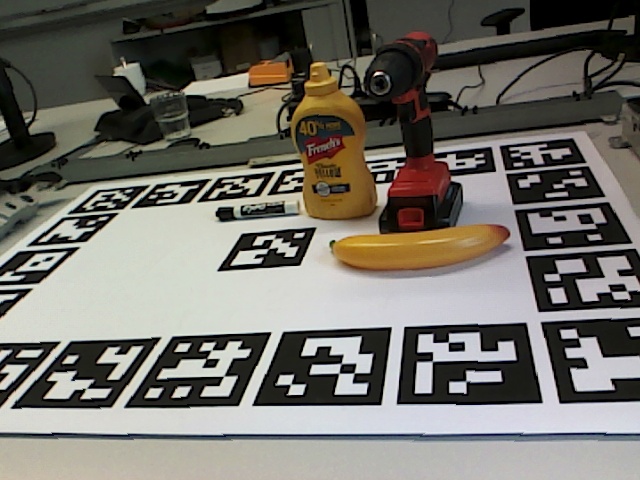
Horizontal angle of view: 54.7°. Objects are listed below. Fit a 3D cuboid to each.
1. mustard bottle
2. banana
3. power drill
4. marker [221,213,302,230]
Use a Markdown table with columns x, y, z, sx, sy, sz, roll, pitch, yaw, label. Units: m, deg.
| x | y | z | sx | sy | sz | roll | pitch | yaw | label |
| --- | --- | --- | --- | --- | --- | --- | --- | --- | --- |
| 0.018 | -0.103 | 0.785 | 0.097 | 0.191 | 0.058 | 3 | 31 | 26 | mustard bottle |
| 0.091 | 0.036 | 0.666 | 0.198 | 0.038 | 0.074 | -1 | 31 | 25 | banana |
| 0.102 | -0.091 | 0.693 | 0.058 | 0.186 | 0.184 | 5 | 30 | 27 | power drill |
| -0.084 | -0.026 | 0.870 | 0.121 | 0.019 | 0.019 | -2 | 30 | 19 | marker |
